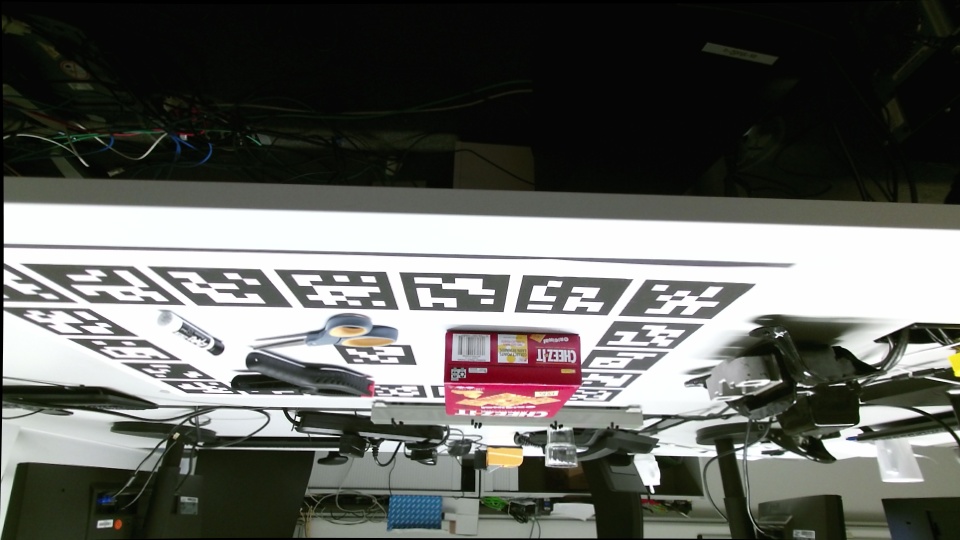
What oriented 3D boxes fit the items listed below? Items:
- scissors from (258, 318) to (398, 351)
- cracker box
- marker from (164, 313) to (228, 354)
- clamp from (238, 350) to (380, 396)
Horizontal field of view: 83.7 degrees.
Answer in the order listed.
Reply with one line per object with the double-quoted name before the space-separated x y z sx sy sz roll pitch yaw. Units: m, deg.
"scissors" -0.195 0.087 0.654 0.203 0.016 0.088 -10 153 26
"cracker box" 0.035 0.152 0.720 0.165 0.071 0.214 2 153 -2
"marker" -0.338 0.082 0.646 0.020 0.019 0.121 0 154 2
"clamp" -0.251 0.166 0.823 0.204 0.036 0.165 17 151 -27
